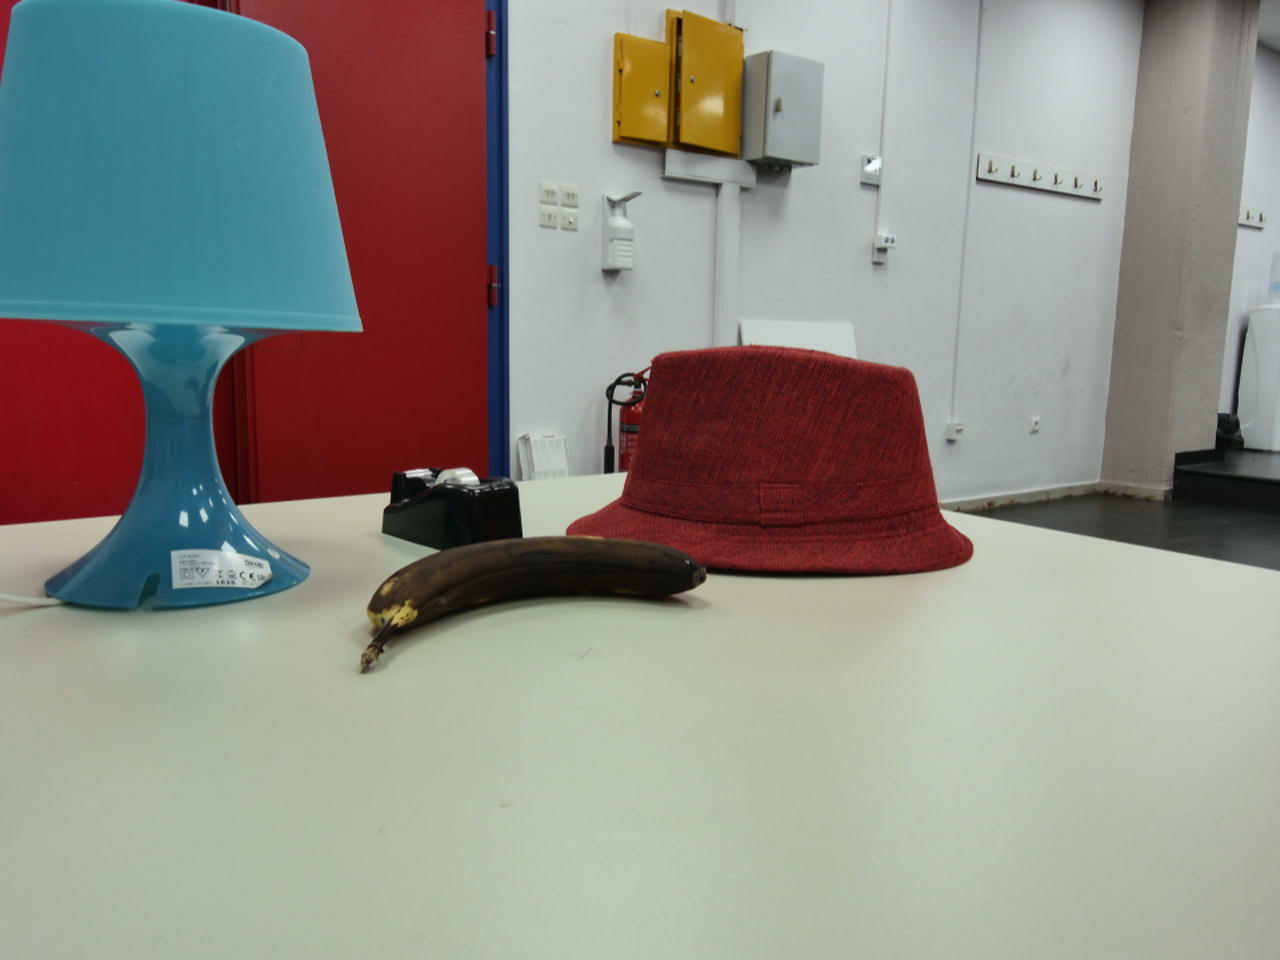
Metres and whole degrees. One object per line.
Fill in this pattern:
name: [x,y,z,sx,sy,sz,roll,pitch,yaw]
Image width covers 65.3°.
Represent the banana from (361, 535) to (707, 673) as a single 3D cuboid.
banana: [-0.062,0.050,0.499,0.188,0.033,0.091,-4,7,-36]
